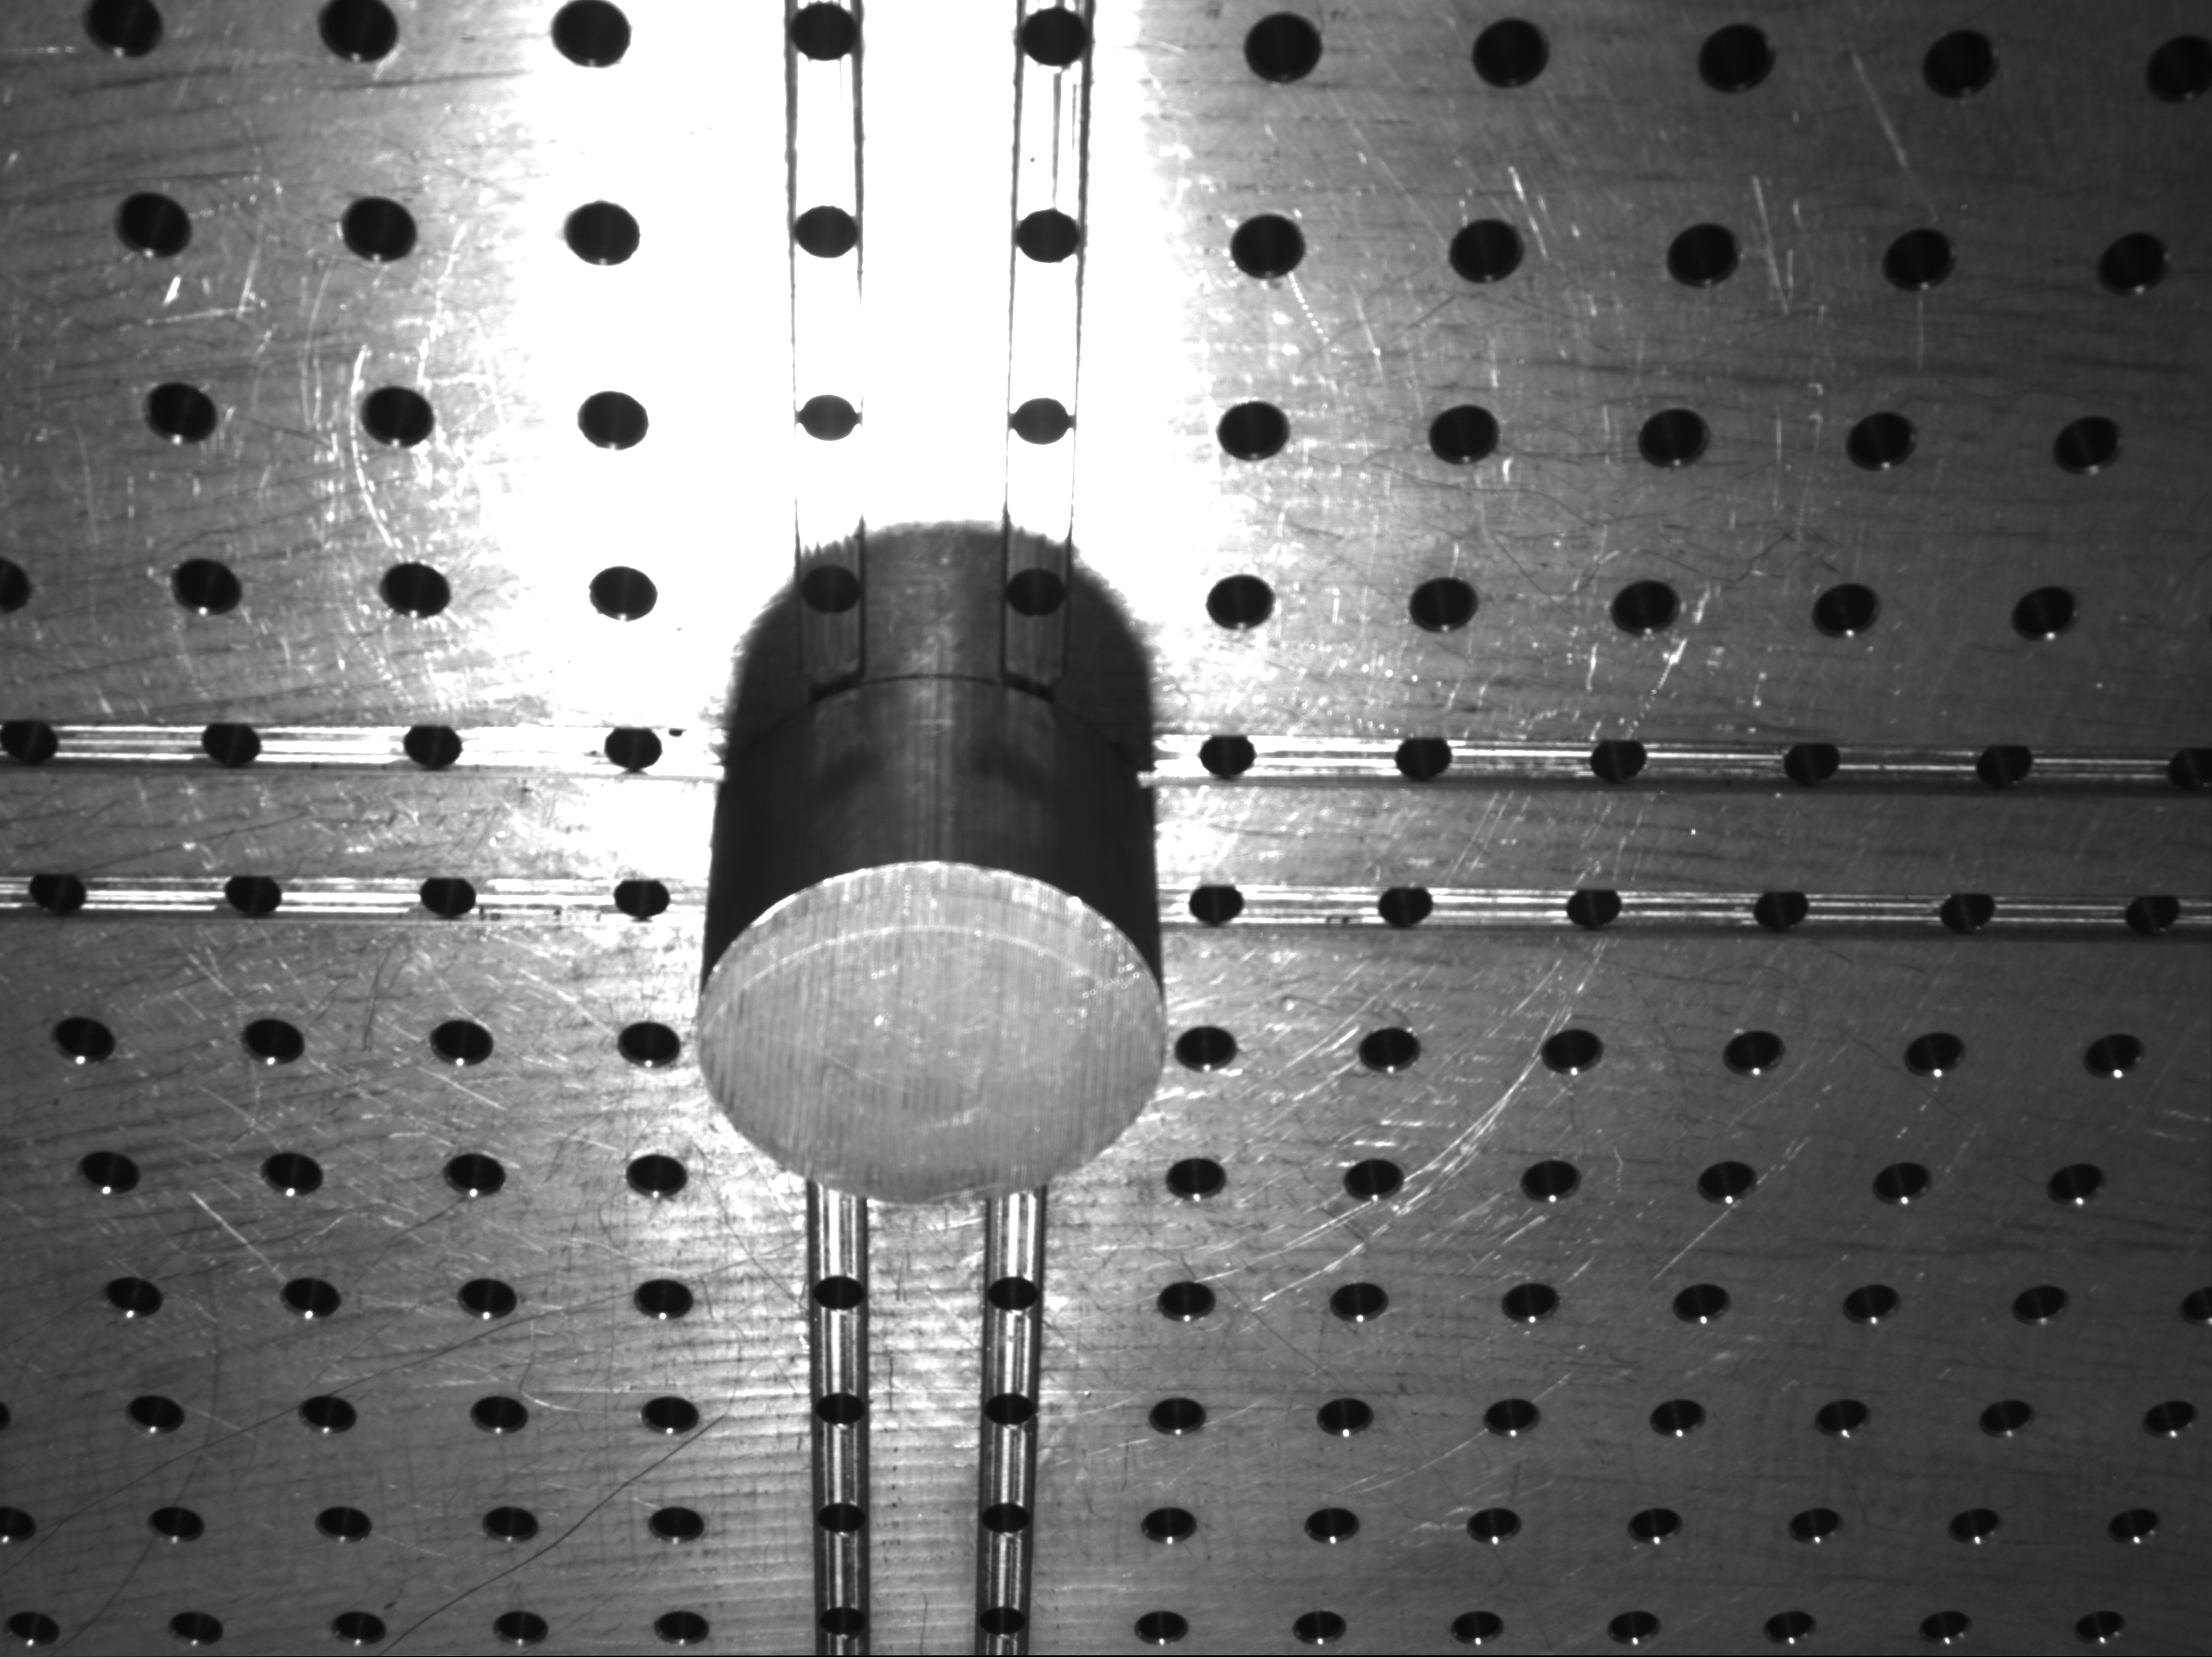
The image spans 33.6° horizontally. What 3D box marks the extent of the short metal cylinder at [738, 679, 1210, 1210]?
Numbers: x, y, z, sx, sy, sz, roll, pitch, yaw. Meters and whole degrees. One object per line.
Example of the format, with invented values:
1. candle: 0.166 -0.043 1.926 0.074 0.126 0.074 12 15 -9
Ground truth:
1. short metal cylinder: -0.023 0.021 0.641 0.080 0.050 0.080 -1 130 -1
